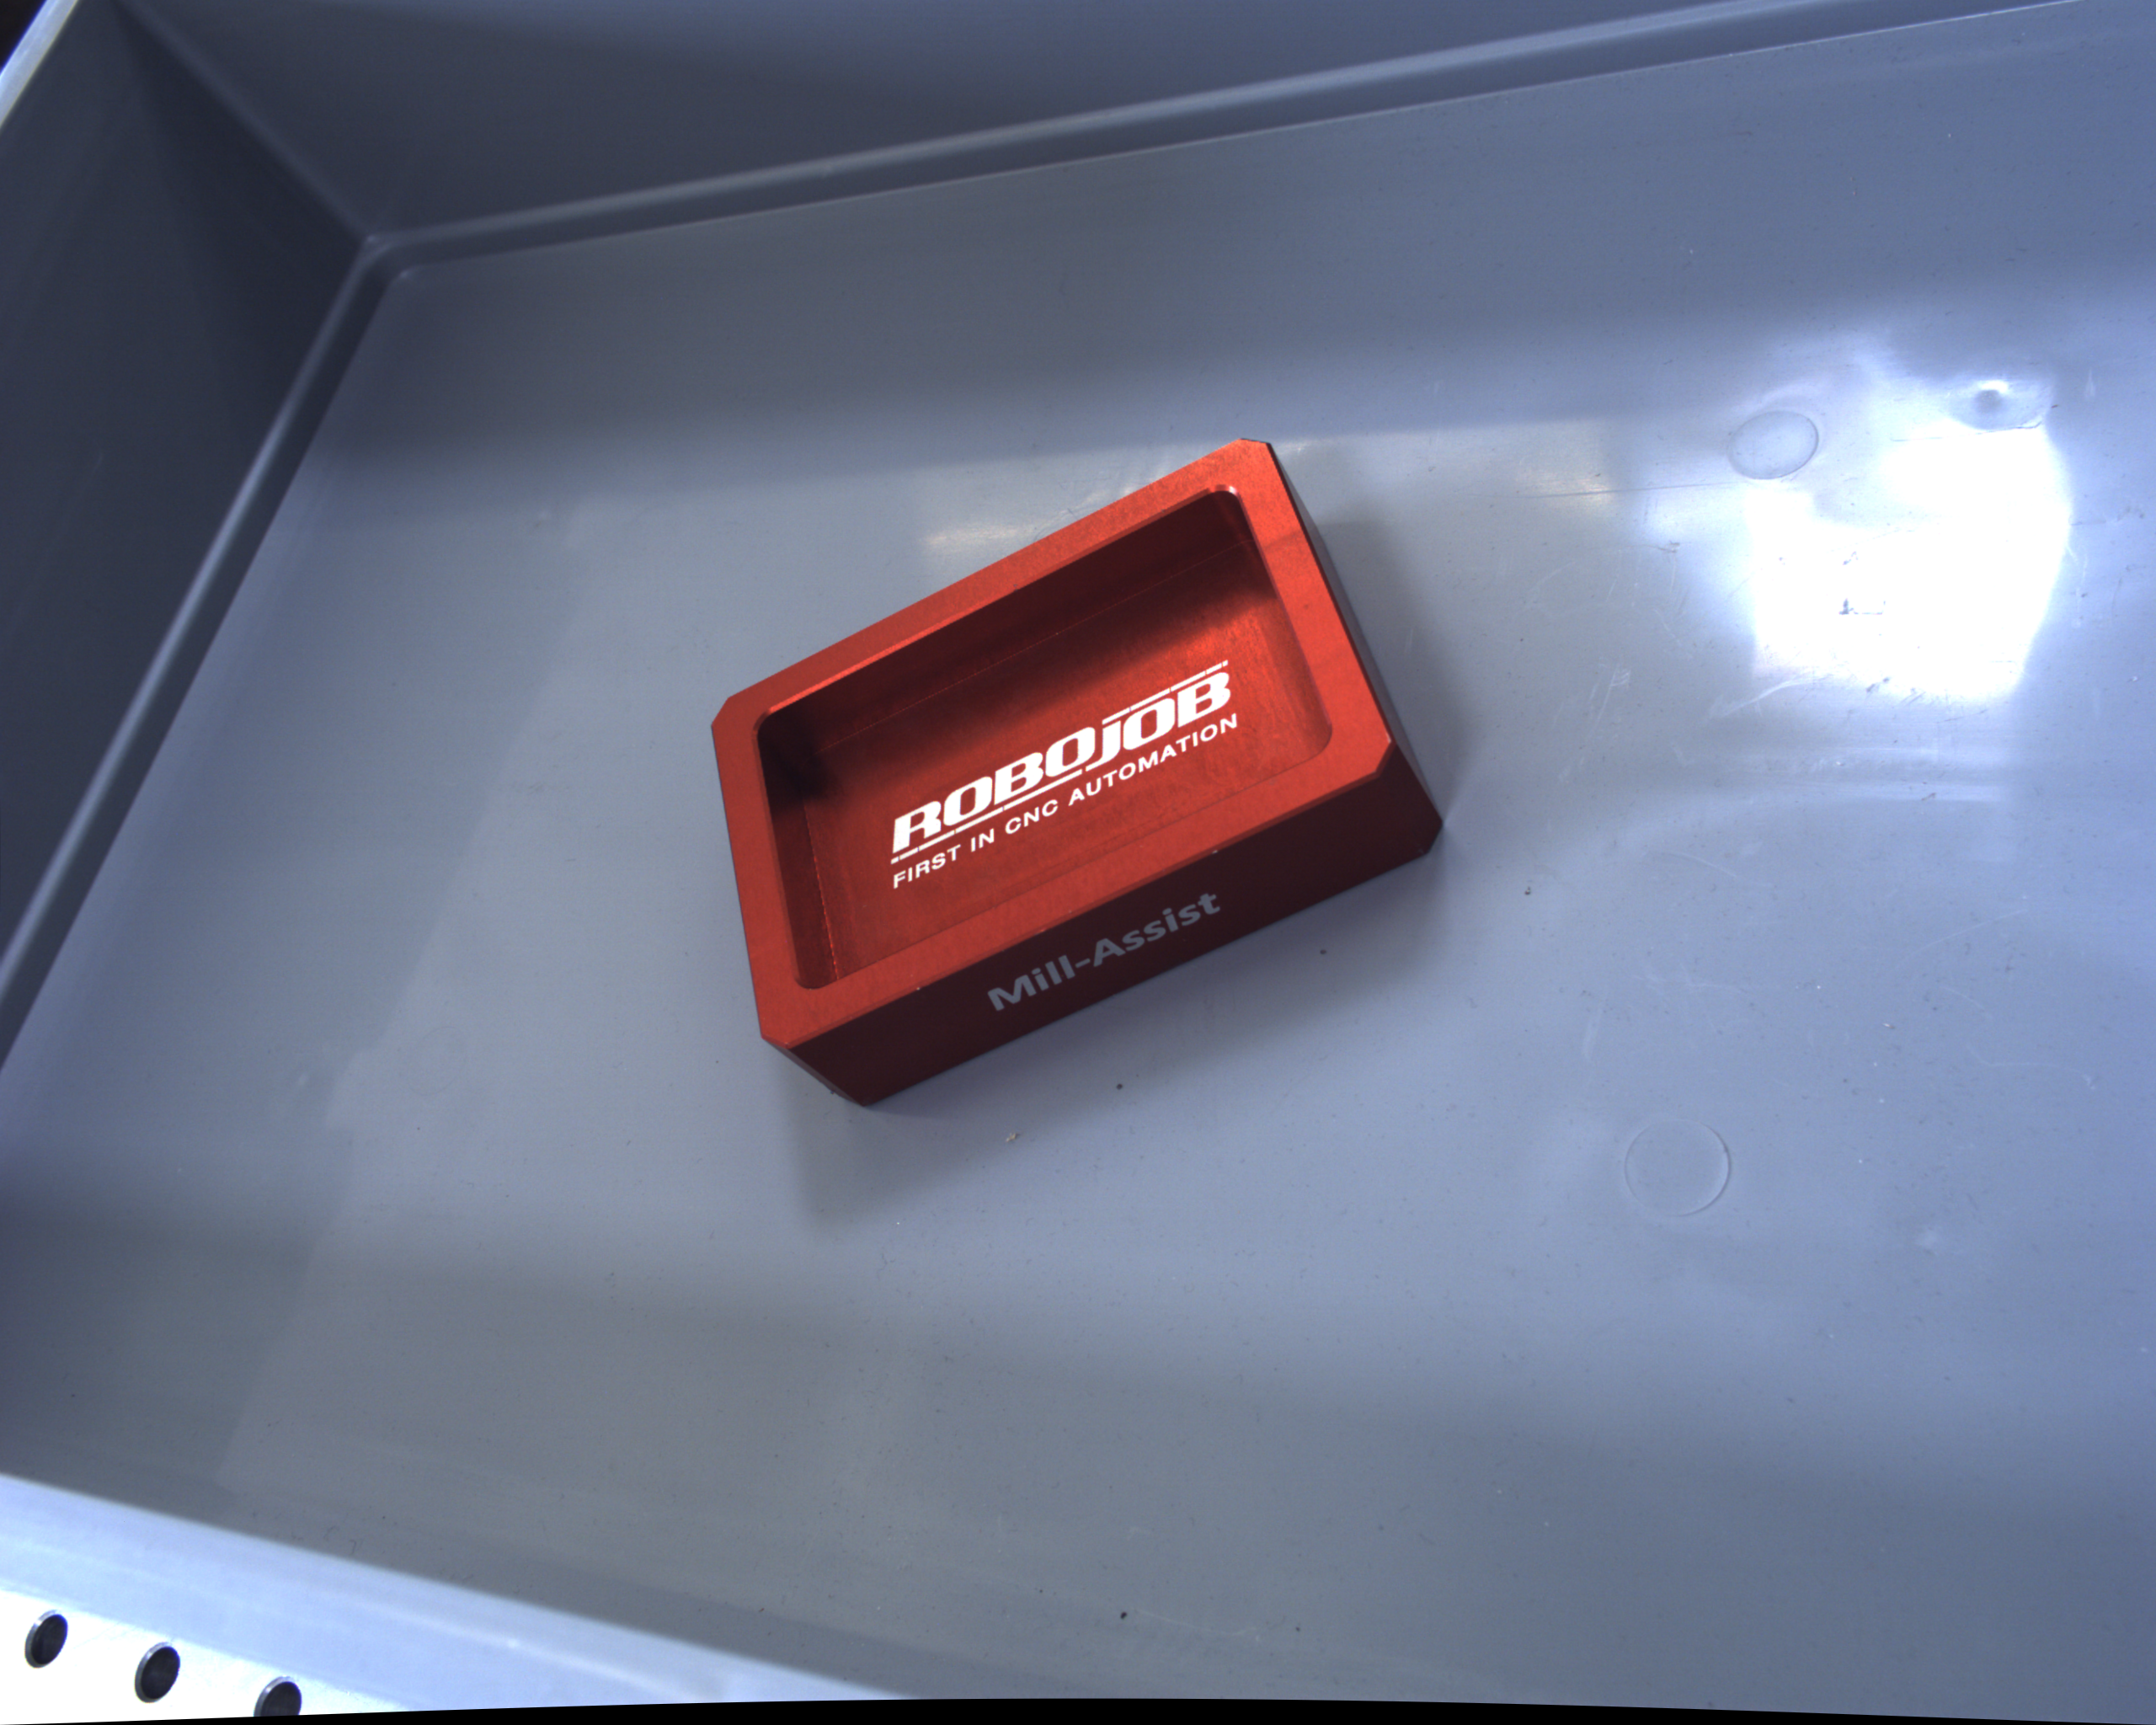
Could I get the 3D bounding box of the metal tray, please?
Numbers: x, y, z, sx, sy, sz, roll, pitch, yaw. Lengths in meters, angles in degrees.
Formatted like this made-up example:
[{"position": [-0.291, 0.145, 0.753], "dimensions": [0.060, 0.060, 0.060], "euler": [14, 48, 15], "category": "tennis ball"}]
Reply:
[{"position": [-0.005, -0.018, 0.413], "dimensions": [0.130, 0.030, 0.090], "euler": [-25, 53, 12], "category": "metal tray"}]
